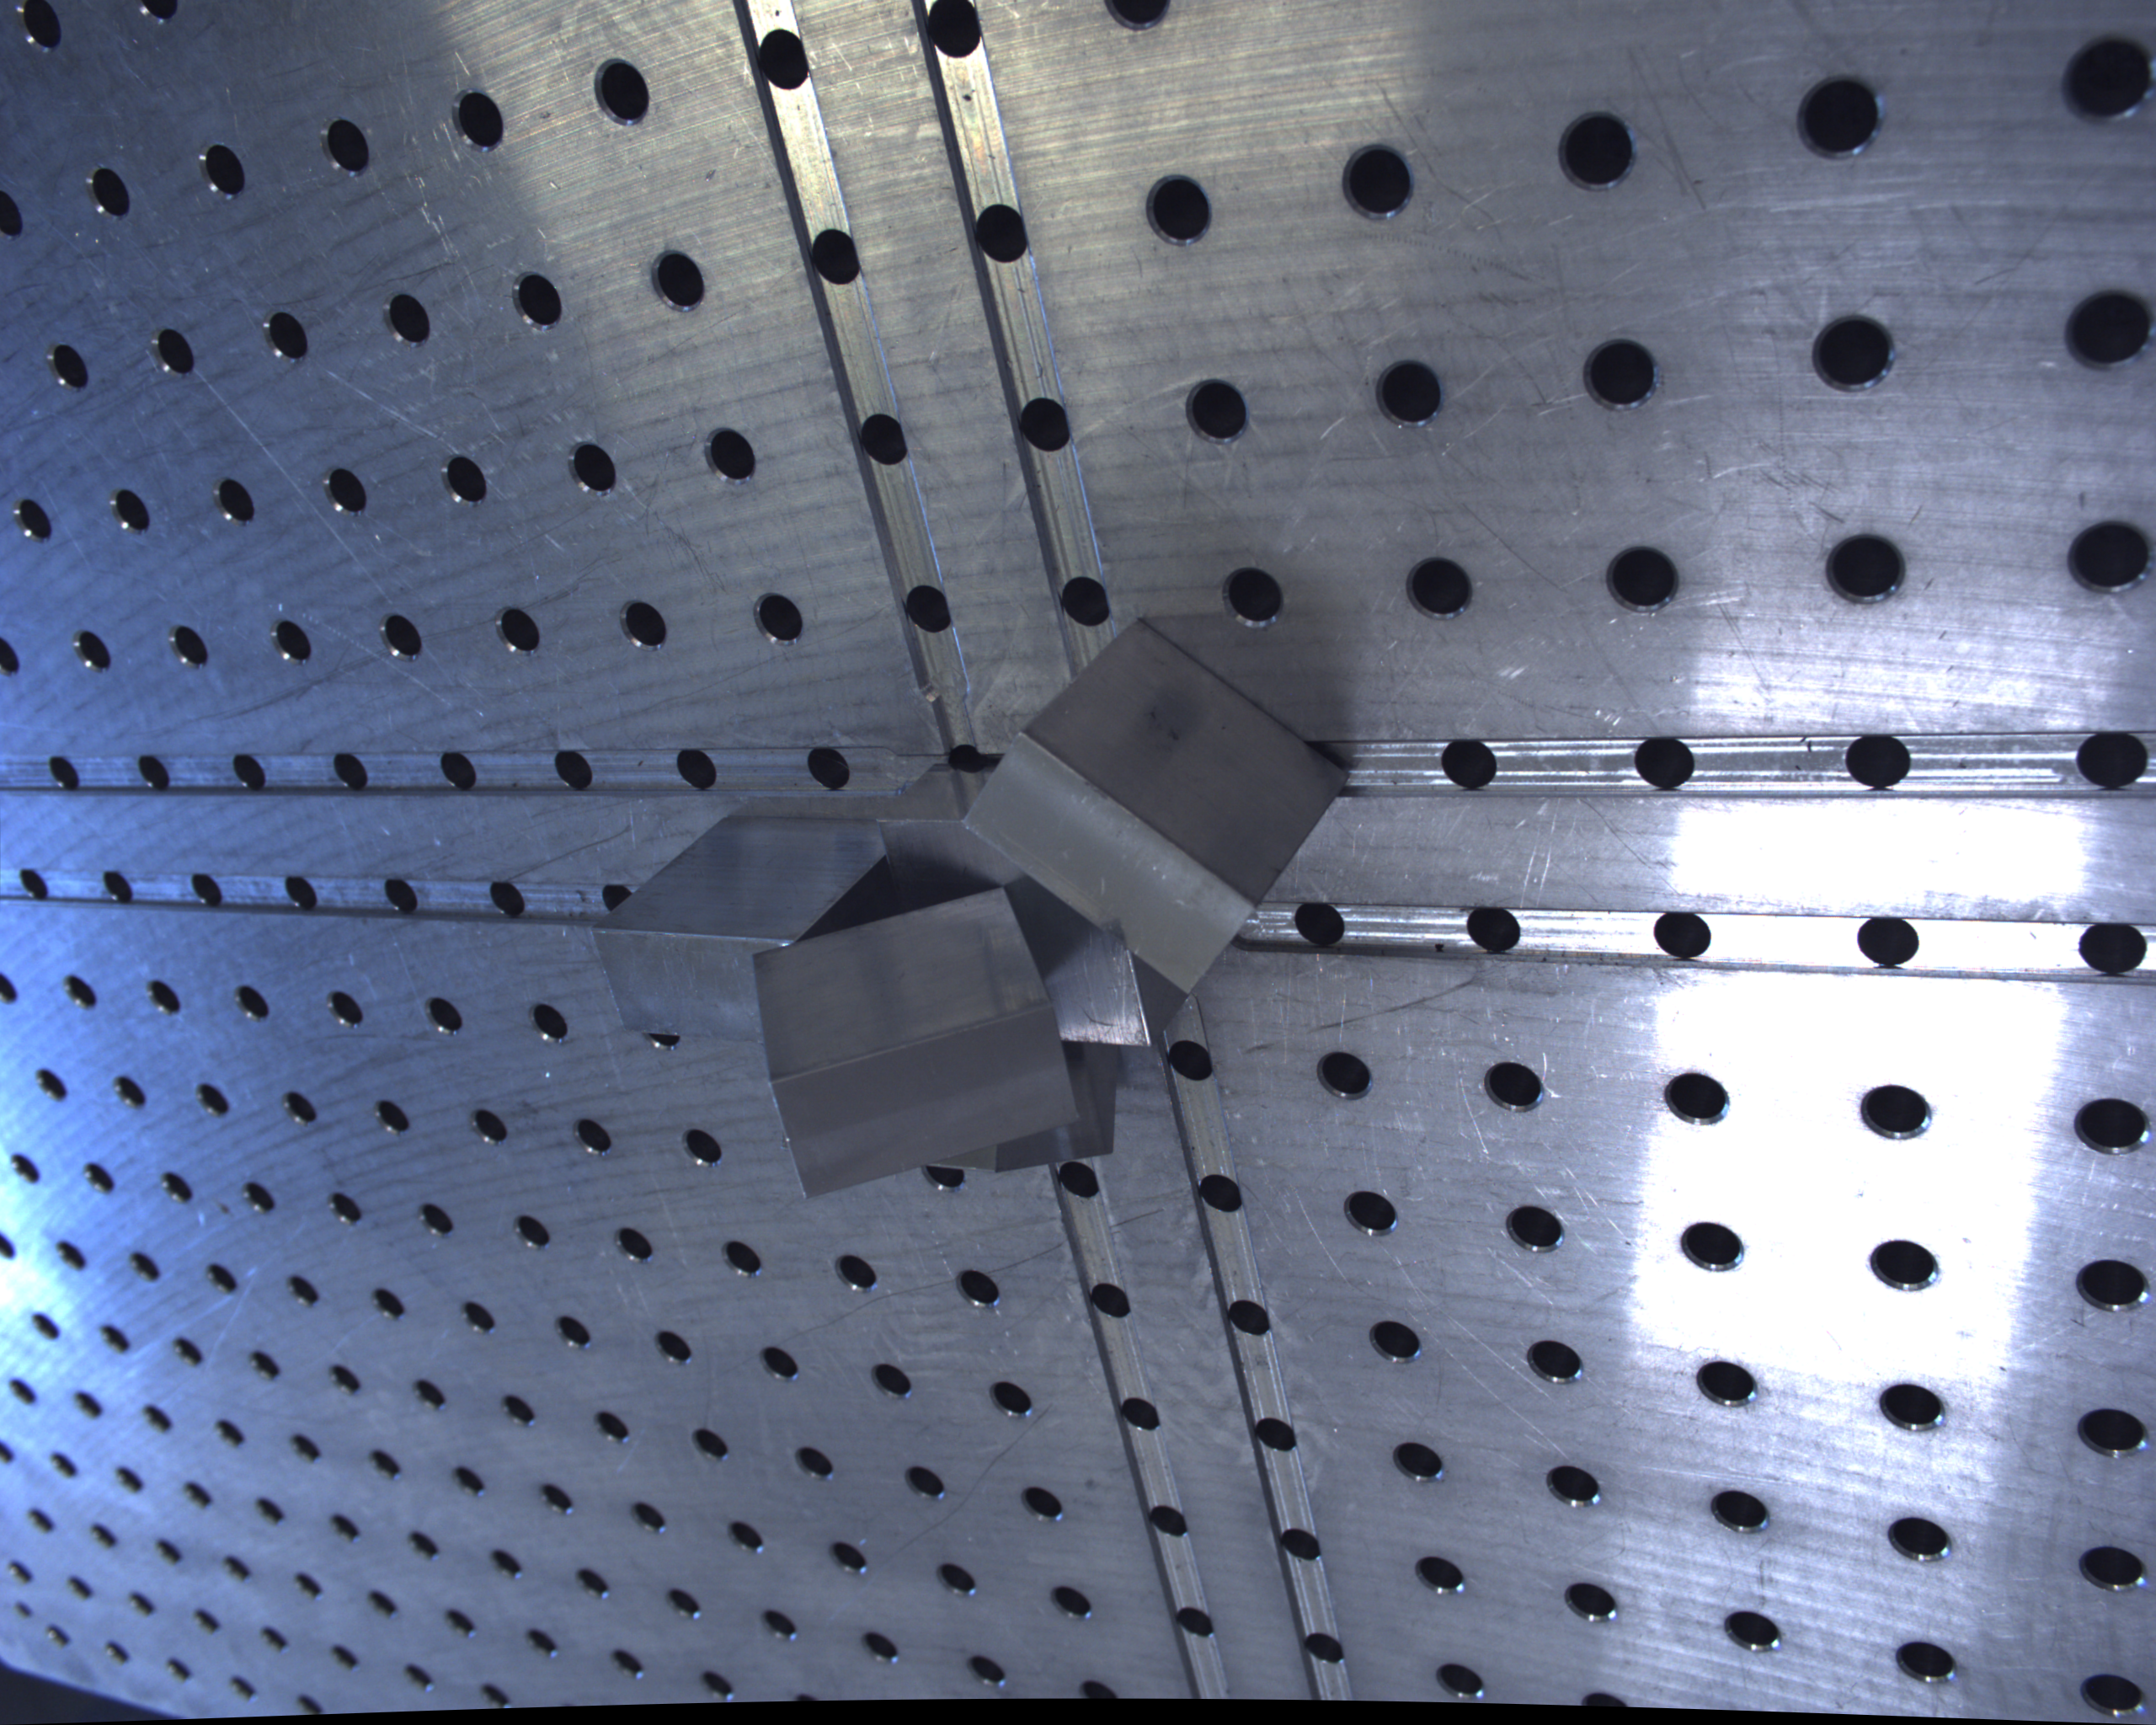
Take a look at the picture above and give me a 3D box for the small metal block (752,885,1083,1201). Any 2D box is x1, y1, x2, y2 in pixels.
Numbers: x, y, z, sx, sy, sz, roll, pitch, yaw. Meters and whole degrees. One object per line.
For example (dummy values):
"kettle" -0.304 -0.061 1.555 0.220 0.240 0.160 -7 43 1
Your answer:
"small metal block" -0.031 0.032 0.386 0.050 0.050 0.025 -15 117 -6

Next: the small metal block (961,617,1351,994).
"small metal block" 0.015 -0.012 0.380 0.050 0.050 0.025 37 128 3

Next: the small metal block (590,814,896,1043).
"small metal block" -0.064 0.013 0.437 0.050 0.050 0.025 2 120 28

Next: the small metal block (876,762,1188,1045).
"small metal block" -0.007 0.008 0.420 0.050 0.025 0.050 1 119 27

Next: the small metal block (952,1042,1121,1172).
"small metal block" -0.025 0.048 0.435 0.050 0.050 0.025 2 88 28
